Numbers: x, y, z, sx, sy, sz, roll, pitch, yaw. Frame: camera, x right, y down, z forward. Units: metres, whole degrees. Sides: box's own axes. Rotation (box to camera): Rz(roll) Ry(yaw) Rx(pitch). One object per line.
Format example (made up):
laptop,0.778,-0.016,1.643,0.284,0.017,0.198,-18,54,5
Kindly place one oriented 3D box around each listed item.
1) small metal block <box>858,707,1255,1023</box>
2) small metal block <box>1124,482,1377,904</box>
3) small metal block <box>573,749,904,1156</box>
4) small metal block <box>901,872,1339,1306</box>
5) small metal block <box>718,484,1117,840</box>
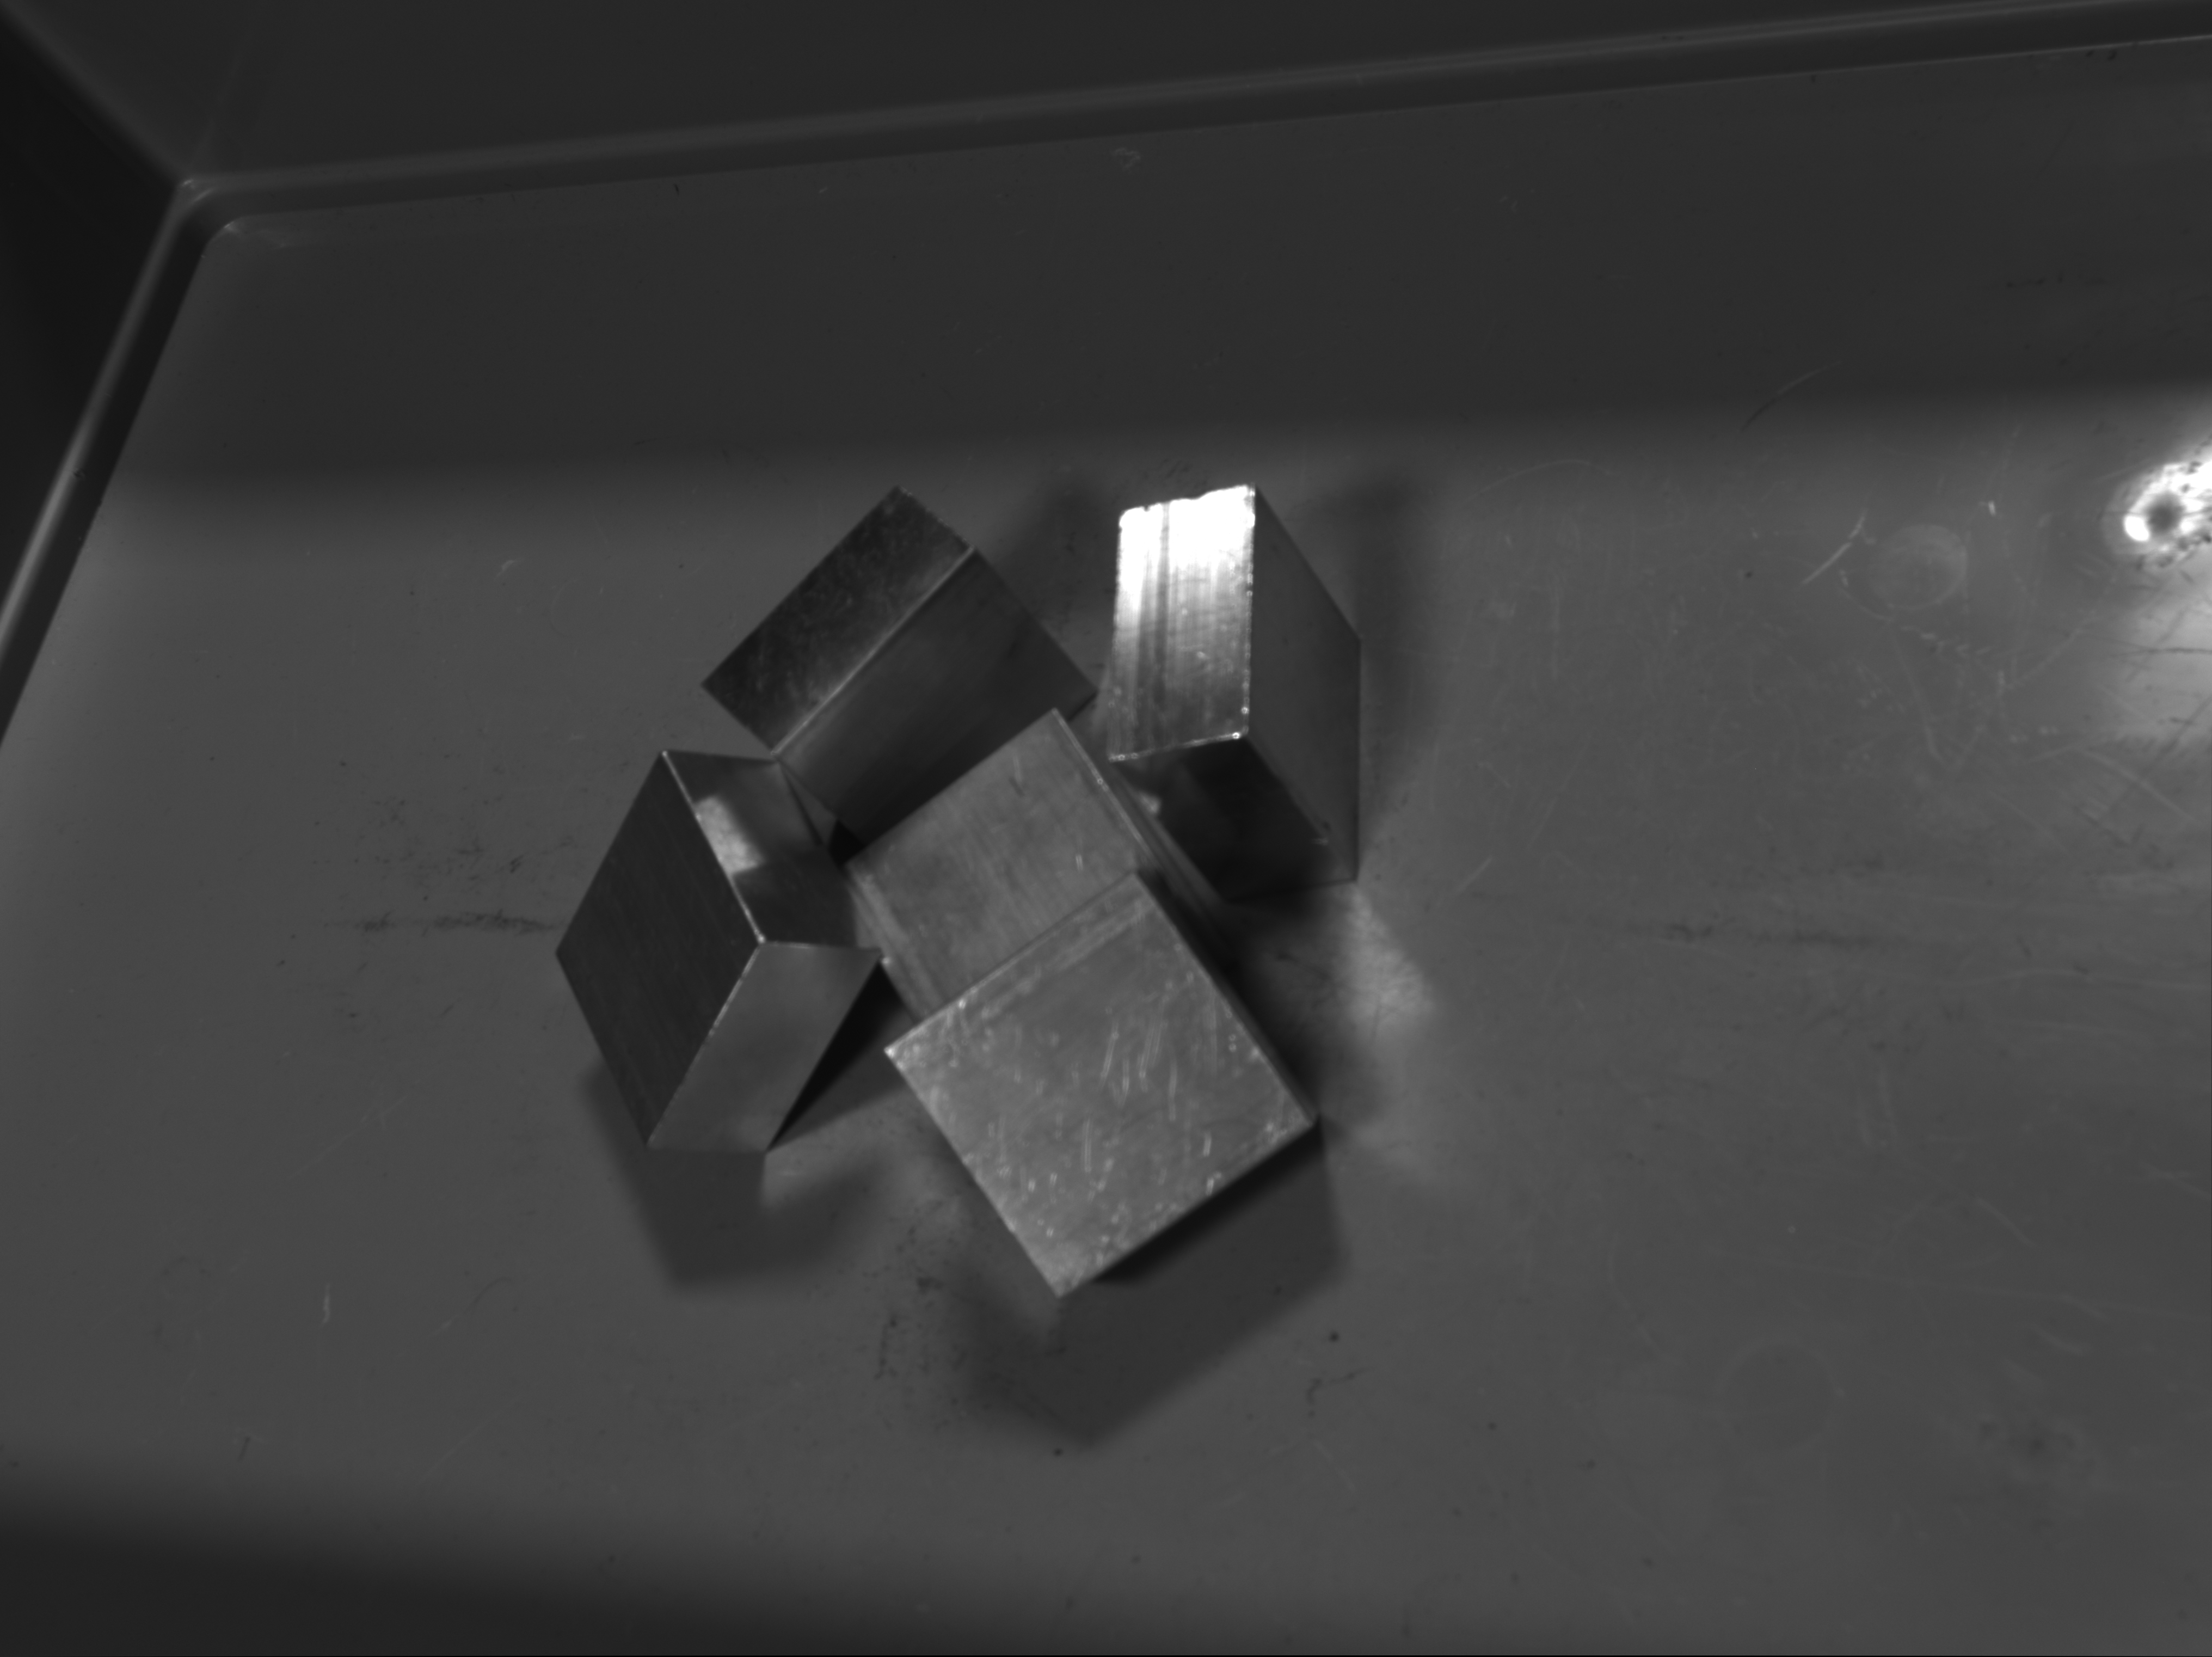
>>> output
small metal block,-0.010,0.016,0.638,0.050,0.025,0.050,-36,51,4
small metal block,0.026,-0.022,0.626,0.025,0.050,0.050,-10,57,22
small metal block,-0.066,0.022,0.650,0.050,0.025,0.050,-59,44,29
small metal block,0.003,0.042,0.599,0.050,0.025,0.050,-35,88,4
small metal block,-0.033,-0.025,0.659,0.050,0.050,0.025,-45,50,-3
